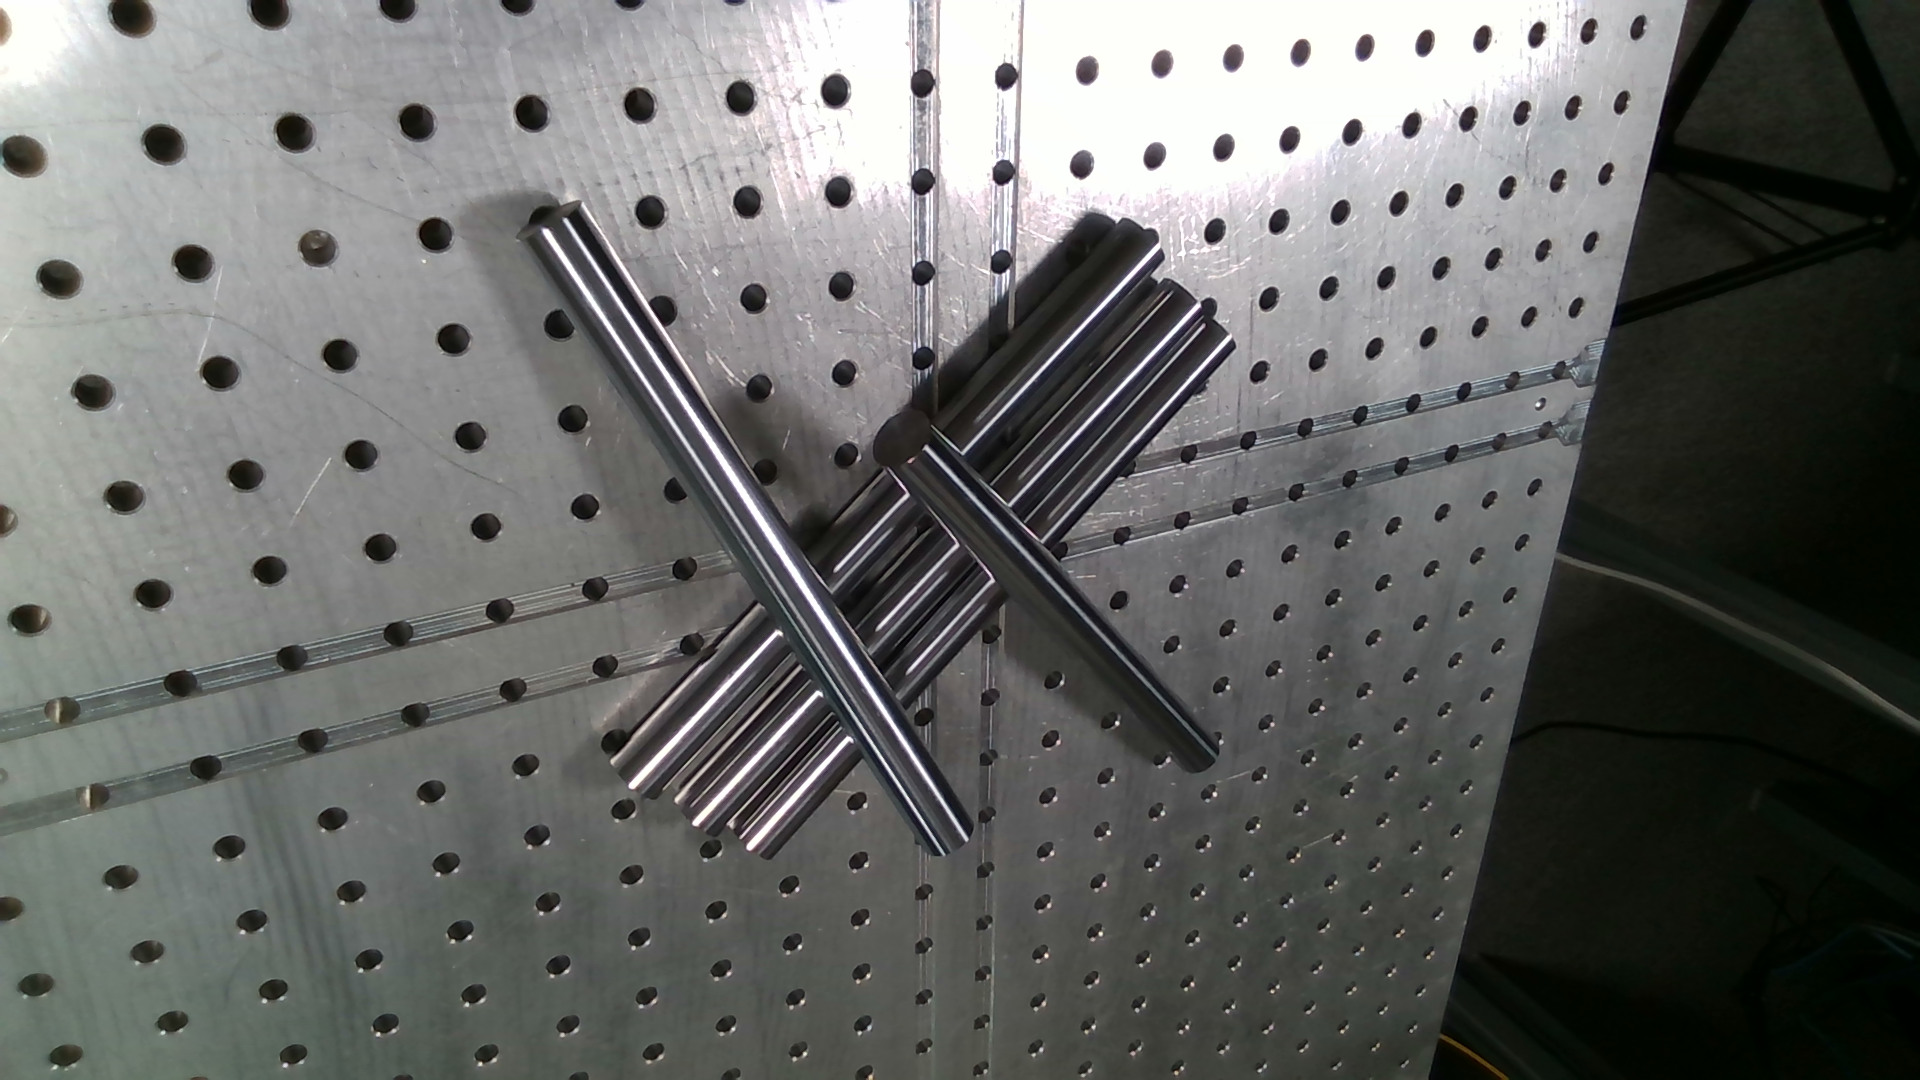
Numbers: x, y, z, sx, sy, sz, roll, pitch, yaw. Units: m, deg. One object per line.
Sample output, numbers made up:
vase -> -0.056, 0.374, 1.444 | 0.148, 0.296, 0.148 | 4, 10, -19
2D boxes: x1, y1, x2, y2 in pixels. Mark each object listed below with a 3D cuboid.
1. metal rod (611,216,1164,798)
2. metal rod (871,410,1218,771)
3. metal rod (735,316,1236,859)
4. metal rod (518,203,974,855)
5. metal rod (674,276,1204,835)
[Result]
metal rod -> -0.029, -0.014, 0.558 | 0.300, 0.025, 0.025 | -47, 129, -1
metal rod -> 0.051, 0.036, 0.608 | 0.025, 0.025, 0.301 | -47, 137, -2
metal rod -> 0.010, 0.019, 0.600 | 0.300, 0.025, 0.025 | -48, 129, -1
metal rod -> -0.069, 0.012, 0.521 | 0.025, 0.025, 0.301 | -35, 120, -11
metal rod -> -0.008, 0.006, 0.582 | 0.300, 0.025, 0.025 | -47, 129, -1
